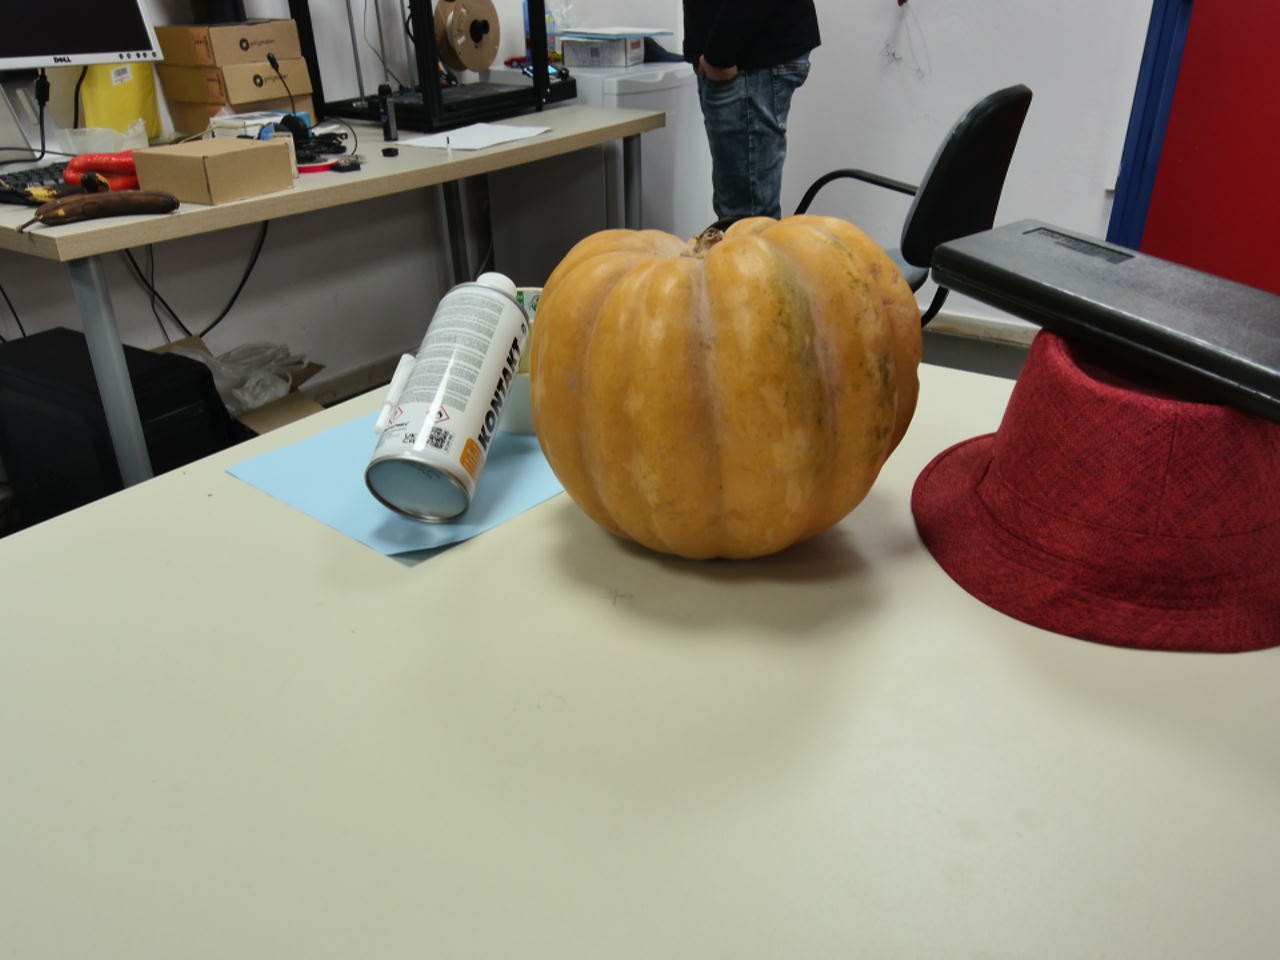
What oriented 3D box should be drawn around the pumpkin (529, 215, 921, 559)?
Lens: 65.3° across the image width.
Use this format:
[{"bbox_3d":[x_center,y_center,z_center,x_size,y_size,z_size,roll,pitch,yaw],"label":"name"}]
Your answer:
[{"bbox_3d":[0.048,-0.057,0.585,0.230,0.194,0.230,1,25,0],"label":"pumpkin"}]
